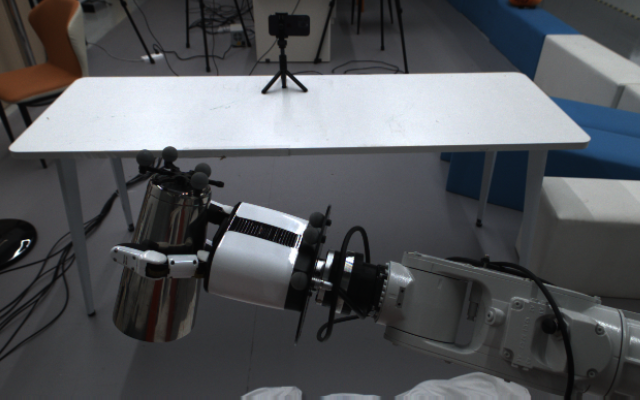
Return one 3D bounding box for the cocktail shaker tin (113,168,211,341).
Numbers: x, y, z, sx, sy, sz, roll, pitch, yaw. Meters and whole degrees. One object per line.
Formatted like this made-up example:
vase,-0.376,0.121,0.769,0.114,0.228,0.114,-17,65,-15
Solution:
cocktail shaker tin,-0.170,0.061,0.539,0.093,0.170,0.093,15,17,-5
